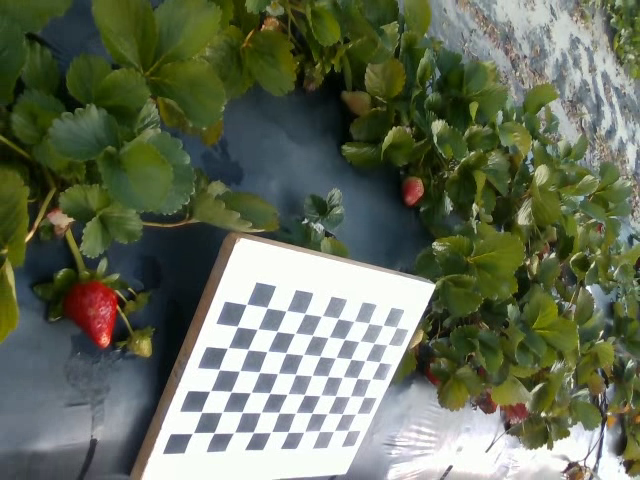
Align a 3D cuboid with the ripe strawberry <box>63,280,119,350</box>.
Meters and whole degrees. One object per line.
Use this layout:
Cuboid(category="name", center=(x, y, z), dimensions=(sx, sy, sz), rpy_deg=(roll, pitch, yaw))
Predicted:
Cuboid(category="ripe strawberry", center=(-0.185, 0.065, 0.469), dimensions=(0.043, 0.057, 0.052), rpy_deg=(-12, -33, -26))
